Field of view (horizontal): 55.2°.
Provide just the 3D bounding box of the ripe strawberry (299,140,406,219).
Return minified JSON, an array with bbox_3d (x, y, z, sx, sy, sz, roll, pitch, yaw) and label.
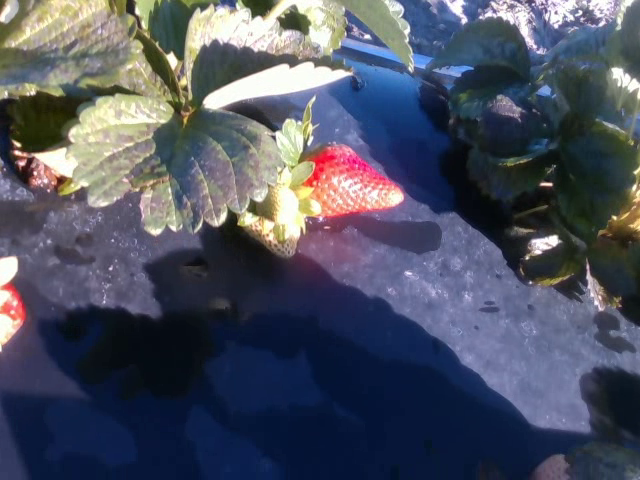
[{"bbox_3d":[0.015,-0.028,0.318,0.064,0.050,0.052,14,-6,0],"label":"ripe strawberry"}]
